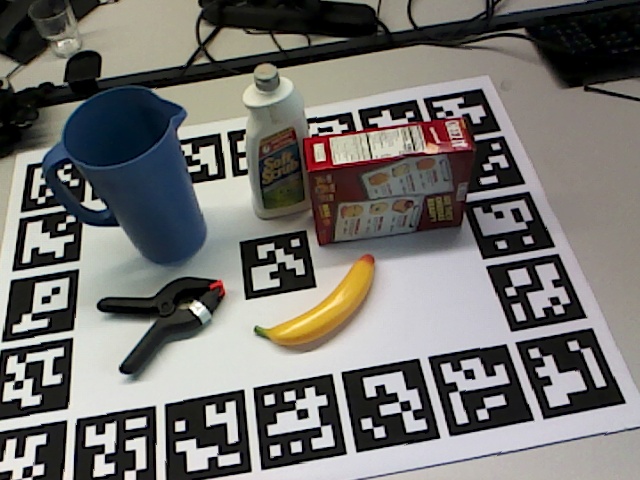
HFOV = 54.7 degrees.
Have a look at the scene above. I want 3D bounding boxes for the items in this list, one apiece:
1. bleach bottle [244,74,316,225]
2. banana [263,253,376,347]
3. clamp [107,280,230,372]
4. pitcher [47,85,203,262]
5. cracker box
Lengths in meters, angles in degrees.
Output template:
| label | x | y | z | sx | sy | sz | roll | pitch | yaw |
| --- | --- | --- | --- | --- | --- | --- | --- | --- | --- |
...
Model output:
| label | x | y | z | sx | sy | sz | roll | pitch | yaw |
| --- | --- | --- | --- | --- | --- | --- | --- | --- | --- |
| bleach bottle | -0.065 | -0.126 | 0.883 | 0.102 | 0.250 | 0.068 | -10 | 53 | 0 |
| banana | 0.017 | 0.088 | 0.855 | 0.197 | 0.038 | 0.075 | -39 | 58 | -20 |
| clamp | -0.205 | 0.102 | 0.862 | 0.165 | 0.036 | 0.122 | -22 | 53 | -12 |
| pitcher | -0.246 | -0.074 | 0.842 | 0.188 | 0.242 | 0.134 | -24 | 54 | -14 |
| cracker box | 0.100 | -0.077 | 0.860 | 0.214 | 0.163 | 0.072 | -9 | 51 | 2 |
